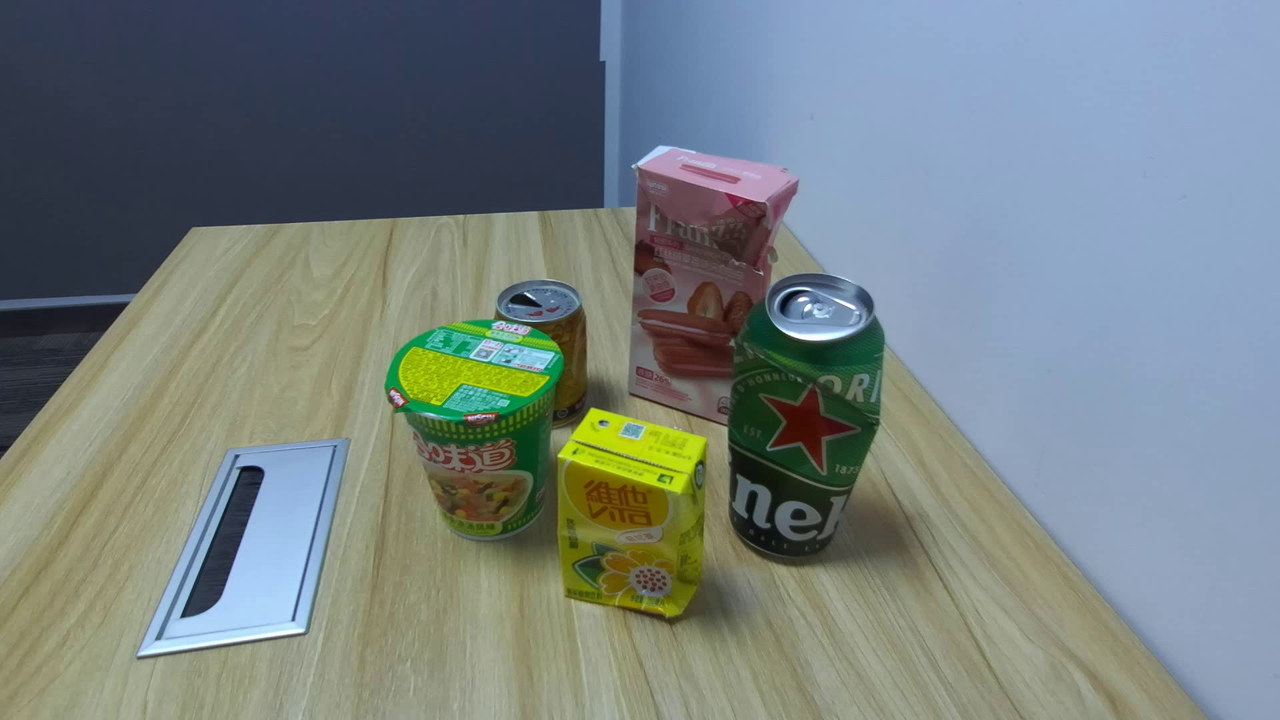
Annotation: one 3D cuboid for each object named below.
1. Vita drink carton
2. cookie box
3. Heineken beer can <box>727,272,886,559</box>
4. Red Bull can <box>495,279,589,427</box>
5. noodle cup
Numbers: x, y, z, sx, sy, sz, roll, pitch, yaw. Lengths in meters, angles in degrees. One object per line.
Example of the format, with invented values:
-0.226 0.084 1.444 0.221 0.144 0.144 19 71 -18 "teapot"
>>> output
-0.001 0.086 0.372 0.076 0.109 0.043 14 36 17 "Vita drink carton"
0.045 -0.047 0.500 0.104 0.186 0.059 20 39 23 "cookie box"
0.088 0.038 0.395 0.069 0.168 0.068 -7 36 -9 "Heineken beer can"
-0.071 -0.004 0.519 0.068 0.093 0.068 1 33 0 "Red Bull can"
-0.093 0.046 0.425 0.097 0.110 0.097 2 36 -1 "noodle cup"
